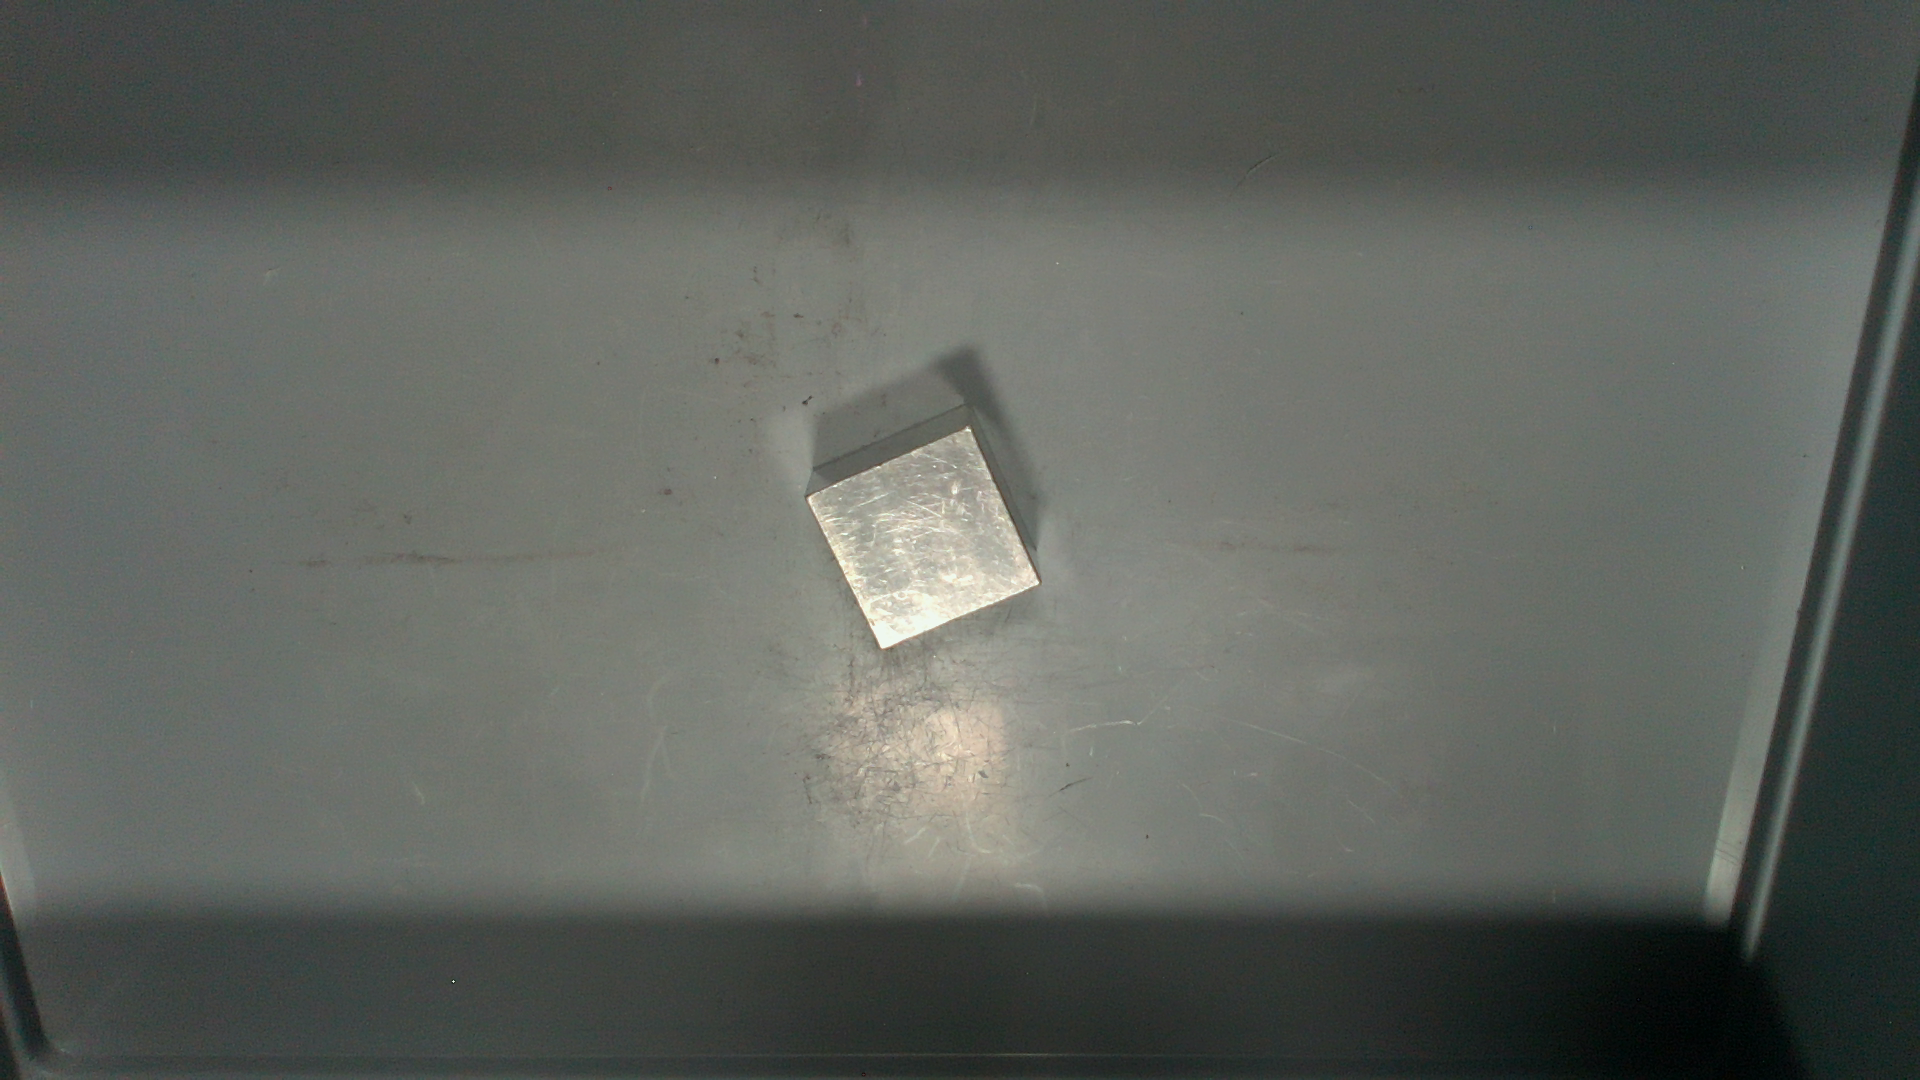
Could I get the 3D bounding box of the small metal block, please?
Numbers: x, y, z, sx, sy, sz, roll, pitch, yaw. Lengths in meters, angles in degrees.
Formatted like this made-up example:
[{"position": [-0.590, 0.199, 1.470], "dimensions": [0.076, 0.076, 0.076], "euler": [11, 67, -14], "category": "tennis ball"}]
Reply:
[{"position": [-0.010, -0.004, 0.389], "dimensions": [0.050, 0.025, 0.050], "euler": [-22, 109, 8], "category": "small metal block"}]
